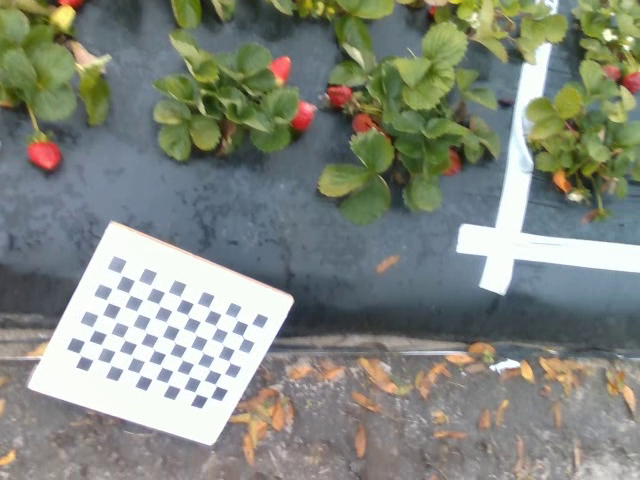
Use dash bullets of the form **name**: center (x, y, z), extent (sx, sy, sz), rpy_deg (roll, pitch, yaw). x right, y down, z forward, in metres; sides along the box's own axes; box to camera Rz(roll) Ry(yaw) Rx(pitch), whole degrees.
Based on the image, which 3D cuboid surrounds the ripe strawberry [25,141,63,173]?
- **ripe strawberry**: center (-0.396, -0.122, 0.758), extent (0.045, 0.054, 0.048), rpy_deg (-24, -27, -2)
